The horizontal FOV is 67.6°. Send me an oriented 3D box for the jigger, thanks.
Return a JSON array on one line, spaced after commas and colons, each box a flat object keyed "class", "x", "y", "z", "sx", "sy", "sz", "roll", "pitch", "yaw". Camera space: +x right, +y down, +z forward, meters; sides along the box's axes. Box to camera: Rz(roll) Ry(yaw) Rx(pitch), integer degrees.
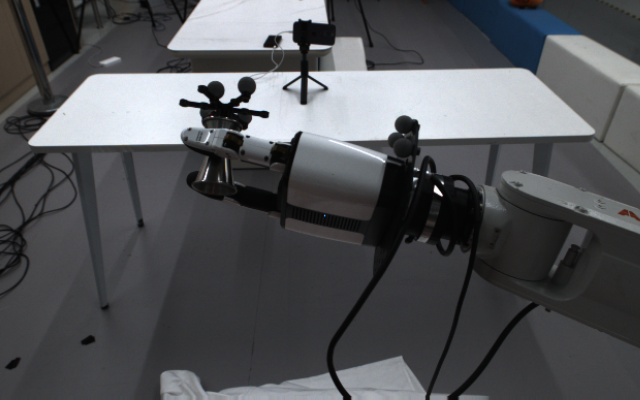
[{"class": "jigger", "x": -0.100, "y": -0.043, "z": 0.480, "sx": 0.043, "sy": 0.043, "sz": 0.071, "roll": 3, "pitch": 75, "yaw": 2}]
